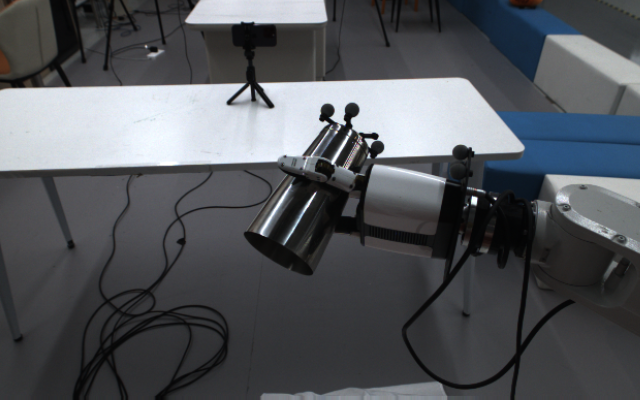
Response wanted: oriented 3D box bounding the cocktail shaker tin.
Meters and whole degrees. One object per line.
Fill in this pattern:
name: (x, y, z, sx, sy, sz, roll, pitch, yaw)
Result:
cocktail shaker tin: (-0.005, -0.010, 0.579, 0.093, 0.093, 0.170, 20, 67, 24)
